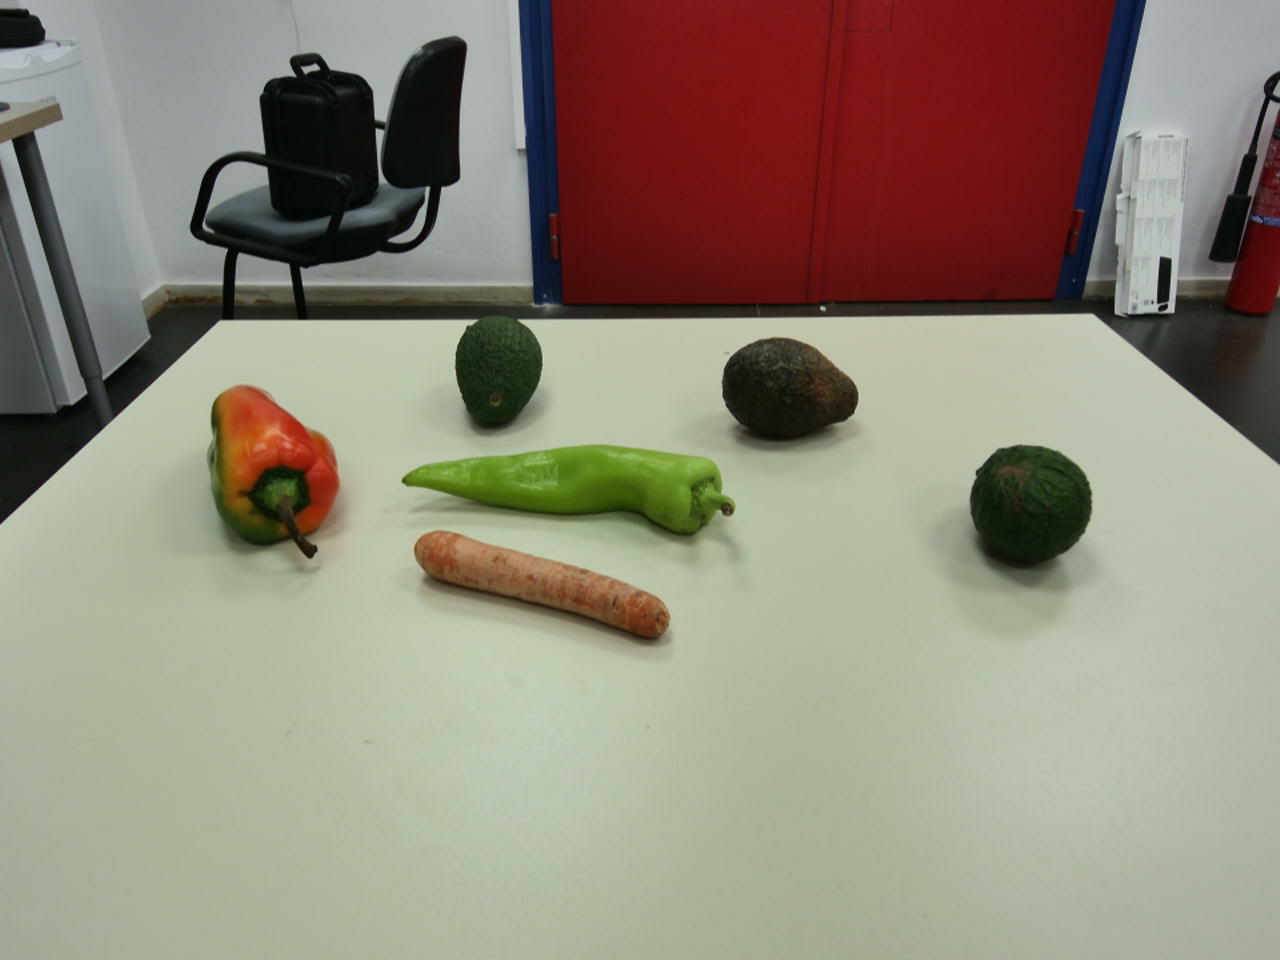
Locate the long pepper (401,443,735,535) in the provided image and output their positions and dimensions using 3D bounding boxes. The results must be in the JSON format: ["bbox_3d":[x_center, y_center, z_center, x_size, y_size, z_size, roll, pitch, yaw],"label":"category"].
[{"bbox_3d":[-0.038,0.001,0.600,0.205,0.045,0.065,8,27,14],"label":"long pepper"}]
